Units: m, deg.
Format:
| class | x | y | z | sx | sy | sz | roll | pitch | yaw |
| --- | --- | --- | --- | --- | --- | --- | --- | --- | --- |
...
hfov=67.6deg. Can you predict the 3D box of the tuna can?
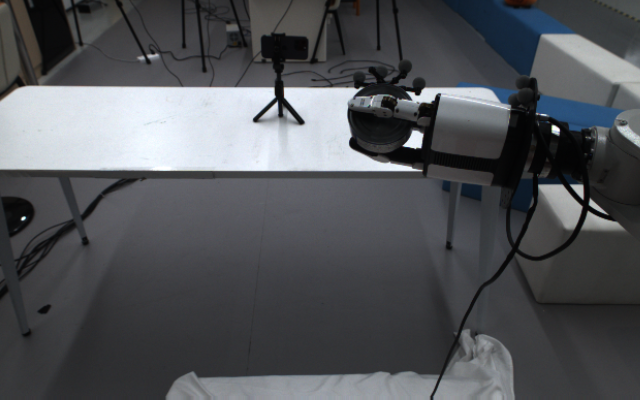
| class | x | y | z | sx | sy | sz | roll | pitch | yaw |
| --- | --- | --- | --- | --- | --- | --- | --- | --- | --- |
| tuna can | 0.079 | -0.108 | 0.625 | 0.085 | 0.034 | 0.085 | -2 | 70 | 7 |
